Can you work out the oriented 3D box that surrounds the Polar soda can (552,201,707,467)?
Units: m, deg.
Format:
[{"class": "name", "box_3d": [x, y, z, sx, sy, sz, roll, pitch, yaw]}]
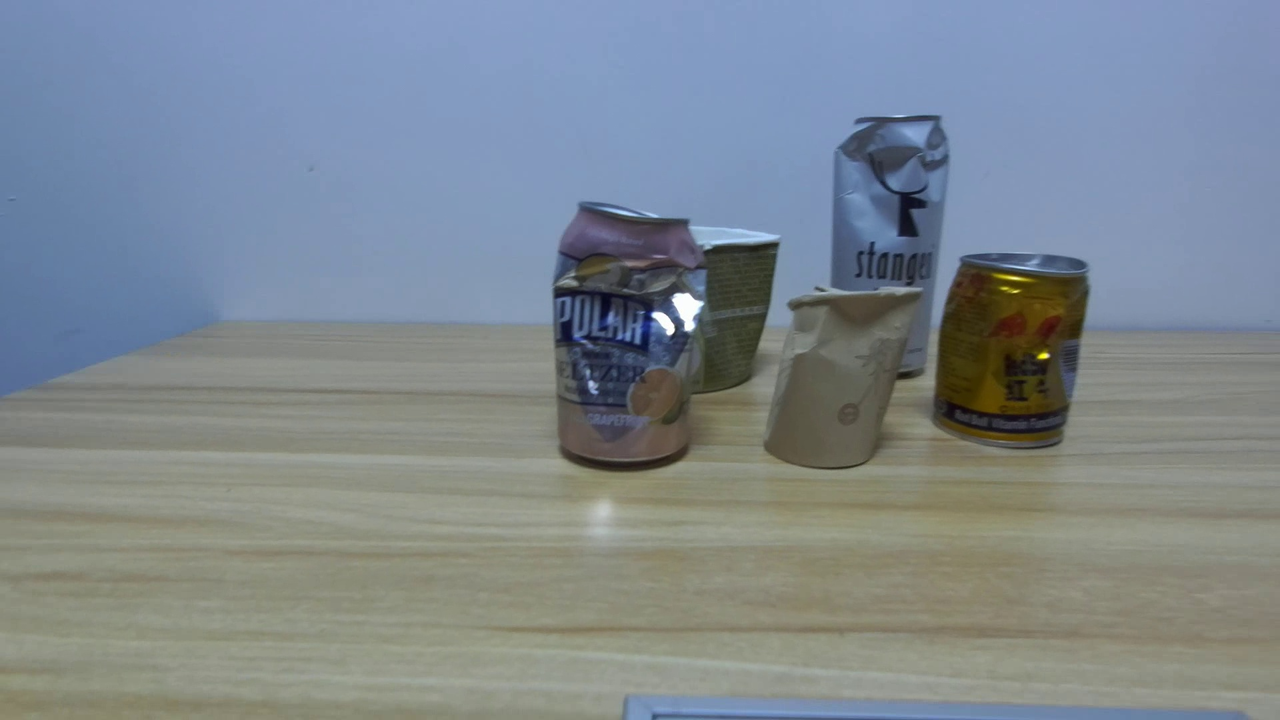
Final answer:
[{"class": "Polar soda can", "box_3d": [-0.003, -0.013, 0.344, 0.071, 0.121, 0.067, 6, 11, 15]}]

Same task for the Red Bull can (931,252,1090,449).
[{"class": "Red Bull can", "box_3d": [0.195, -0.008, 0.373, 0.072, 0.092, 0.072, 1, 18, 0]}]

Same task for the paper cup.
[{"class": "paper cup", "box_3d": [0.090, 0.005, 0.346, 0.067, 0.083, 0.058, -5, 13, -25]}]

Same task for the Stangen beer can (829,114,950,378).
[{"class": "Stangen beer can", "box_3d": [0.166, -0.075, 0.474, 0.065, 0.166, 0.066, 12, 18, 39]}]

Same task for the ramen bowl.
[{"class": "ramen bowl", "box_3d": [0.018, -0.038, 0.472, 0.129, 0.093, 0.111, -11, 19, -34]}]
